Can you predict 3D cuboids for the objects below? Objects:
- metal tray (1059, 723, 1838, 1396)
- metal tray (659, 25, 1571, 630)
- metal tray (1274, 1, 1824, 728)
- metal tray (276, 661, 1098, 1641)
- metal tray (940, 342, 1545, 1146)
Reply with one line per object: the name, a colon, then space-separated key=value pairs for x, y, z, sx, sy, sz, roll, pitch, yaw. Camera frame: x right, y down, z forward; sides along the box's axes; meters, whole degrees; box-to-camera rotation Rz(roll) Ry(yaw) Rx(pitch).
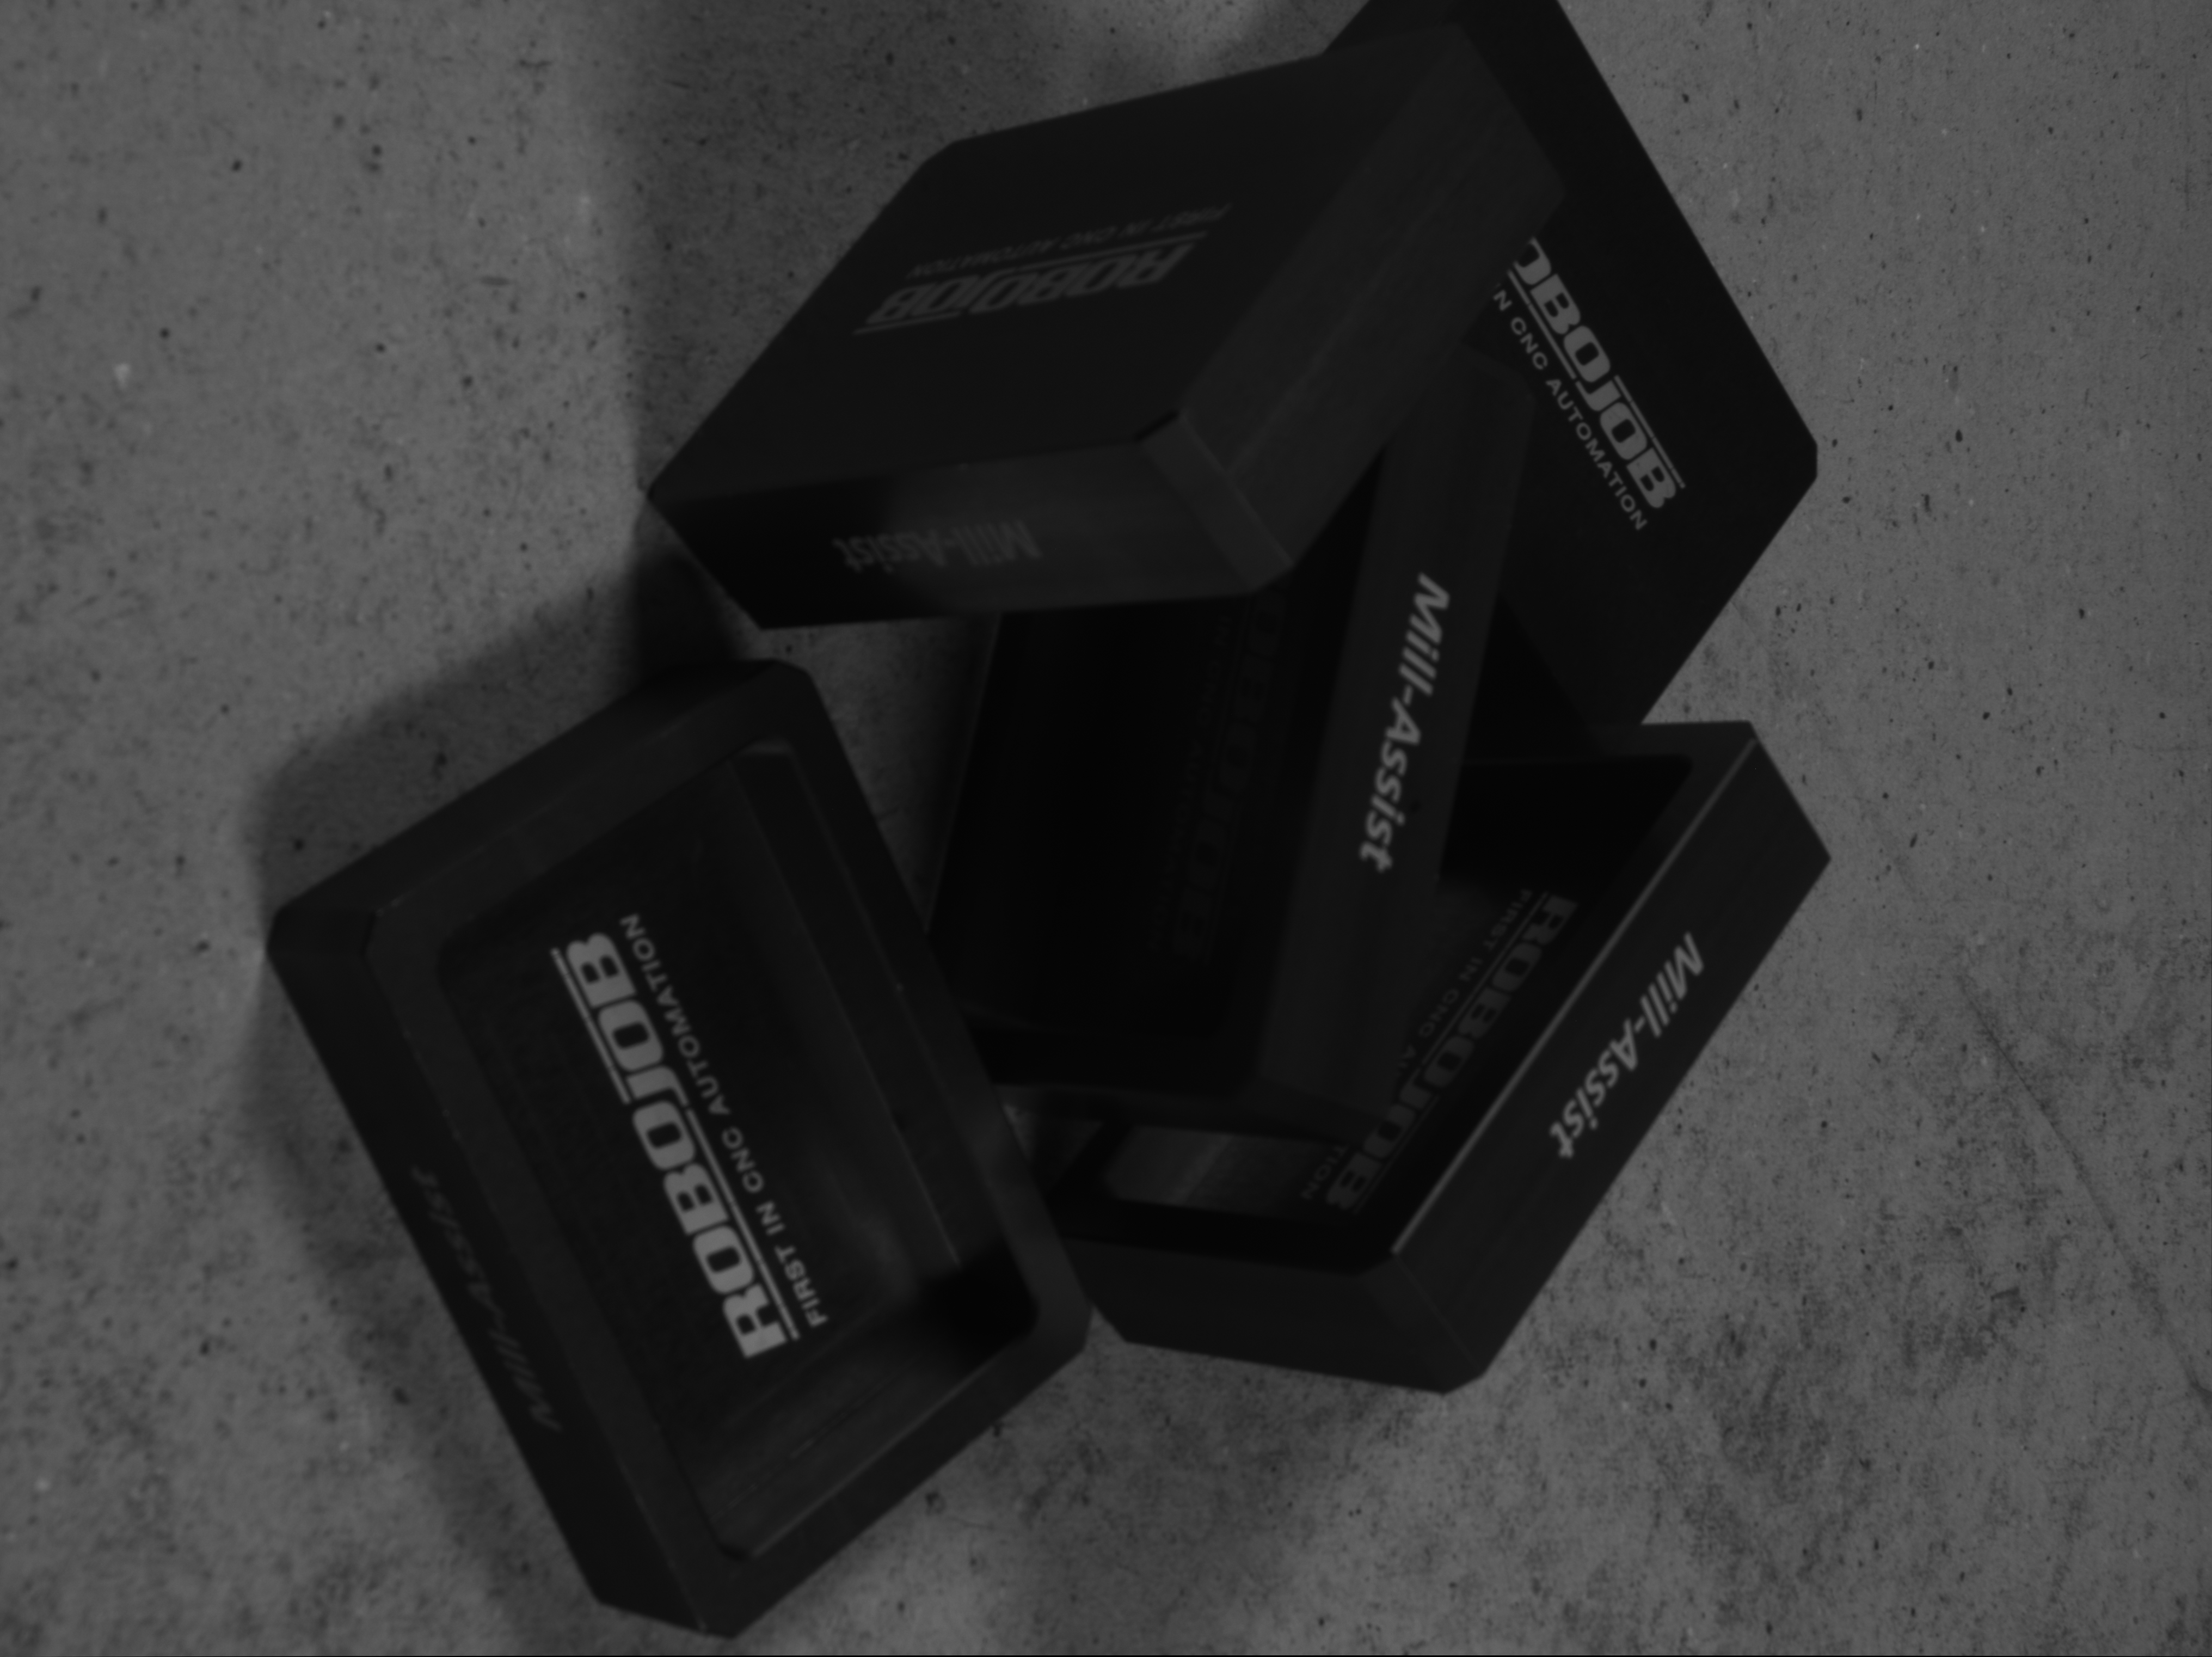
metal tray: x=0.059 y=0.037 z=0.644 sx=0.130 sy=0.090 sz=0.030 roll=-51 pitch=120 yaw=-28
metal tray: x=-0.002 y=-0.075 z=0.568 sx=0.030 sy=0.130 sz=0.090 roll=51 pitch=60 yaw=-28
metal tray: x=0.078 y=-0.089 z=0.699 sx=0.090 sy=0.030 sz=0.130 roll=-52 pitch=120 yaw=-27
metal tray: x=-0.063 y=0.050 z=0.582 sx=0.090 sy=0.030 sz=0.130 roll=-35 pitch=112 yaw=-34
metal tray: x=0.019 y=-0.016 z=0.611 sx=0.030 sy=0.090 sz=0.130 roll=21 pitch=77 yaw=-38
